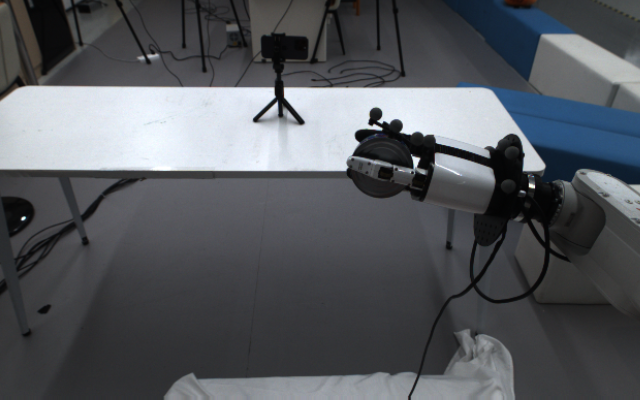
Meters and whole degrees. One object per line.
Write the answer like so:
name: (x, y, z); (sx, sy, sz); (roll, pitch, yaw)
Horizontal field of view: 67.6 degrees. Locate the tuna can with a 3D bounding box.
tuna can: (0.086, -0.050, 0.666); (0.085, 0.085, 0.034); (7, 17, 7)
